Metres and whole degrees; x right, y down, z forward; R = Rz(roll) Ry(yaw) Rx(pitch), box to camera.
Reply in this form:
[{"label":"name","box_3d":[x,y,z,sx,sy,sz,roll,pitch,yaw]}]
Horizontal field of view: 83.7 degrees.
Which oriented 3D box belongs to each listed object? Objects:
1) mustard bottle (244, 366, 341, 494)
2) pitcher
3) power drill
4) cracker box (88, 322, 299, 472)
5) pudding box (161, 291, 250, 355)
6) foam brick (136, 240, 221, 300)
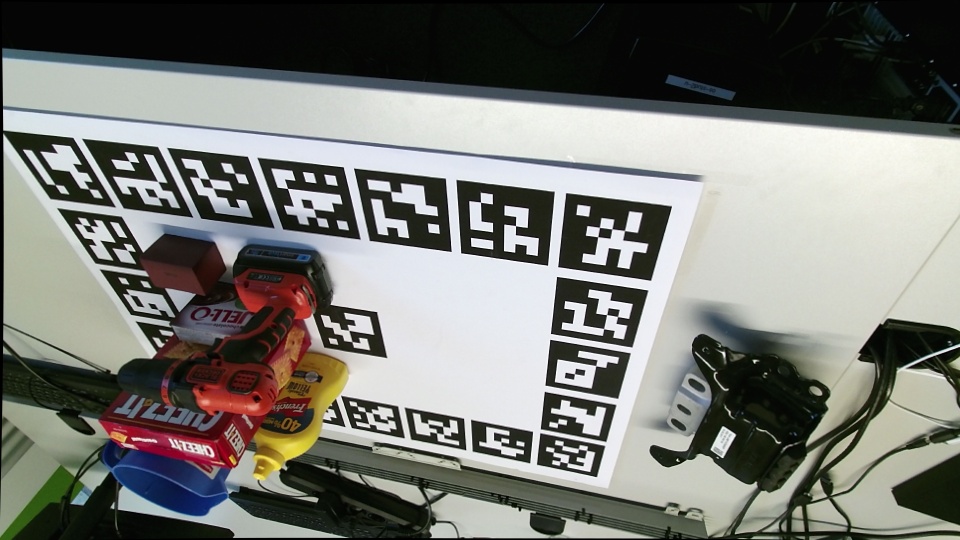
[{"label":"mustard bottle","box_3d":[-0.281,0.230,0.772,0.096,0.191,0.058,17,131,0]},{"label":"pitcher","box_3d":[-0.414,0.221,0.786,0.189,0.241,0.133,11,131,4]},{"label":"power drill","box_3d":[-0.303,0.080,0.621,0.185,0.186,0.057,7,134,11]},{"label":"cracker box","box_3d":[-0.368,0.146,0.716,0.165,0.213,0.072,4,132,9]},{"label":"pudding box","box_3d":[-0.350,0.076,0.723,0.114,0.089,0.038,6,132,7]},{"label":"foam brick","box_3d":[-0.400,-0.001,0.715,0.078,0.051,0.053,9,129,8]}]
